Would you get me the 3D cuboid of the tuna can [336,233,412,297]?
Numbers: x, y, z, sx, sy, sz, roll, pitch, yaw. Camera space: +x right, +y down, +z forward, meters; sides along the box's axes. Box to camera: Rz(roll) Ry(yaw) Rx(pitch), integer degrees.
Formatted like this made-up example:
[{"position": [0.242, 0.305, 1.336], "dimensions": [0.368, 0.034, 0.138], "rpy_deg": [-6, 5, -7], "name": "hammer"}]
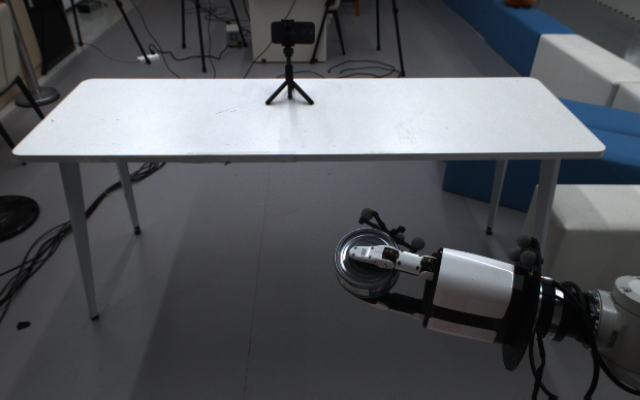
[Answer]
[{"position": [0.065, 0.085, 0.617], "dimensions": [0.085, 0.034, 0.085], "rpy_deg": [-4, 58, 6], "name": "tuna can"}]
